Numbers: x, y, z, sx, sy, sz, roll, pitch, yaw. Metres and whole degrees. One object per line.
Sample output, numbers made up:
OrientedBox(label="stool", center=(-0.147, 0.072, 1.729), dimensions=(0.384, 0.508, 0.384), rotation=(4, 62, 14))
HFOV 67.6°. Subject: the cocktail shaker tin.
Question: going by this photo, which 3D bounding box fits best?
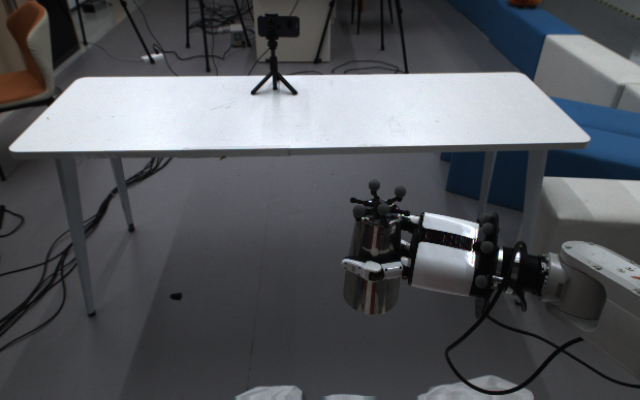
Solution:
OrientedBox(label="cocktail shaker tin", center=(0.087, 0.084, 0.750), dimensions=(0.093, 0.170, 0.093), rotation=(1, 36, 0))
